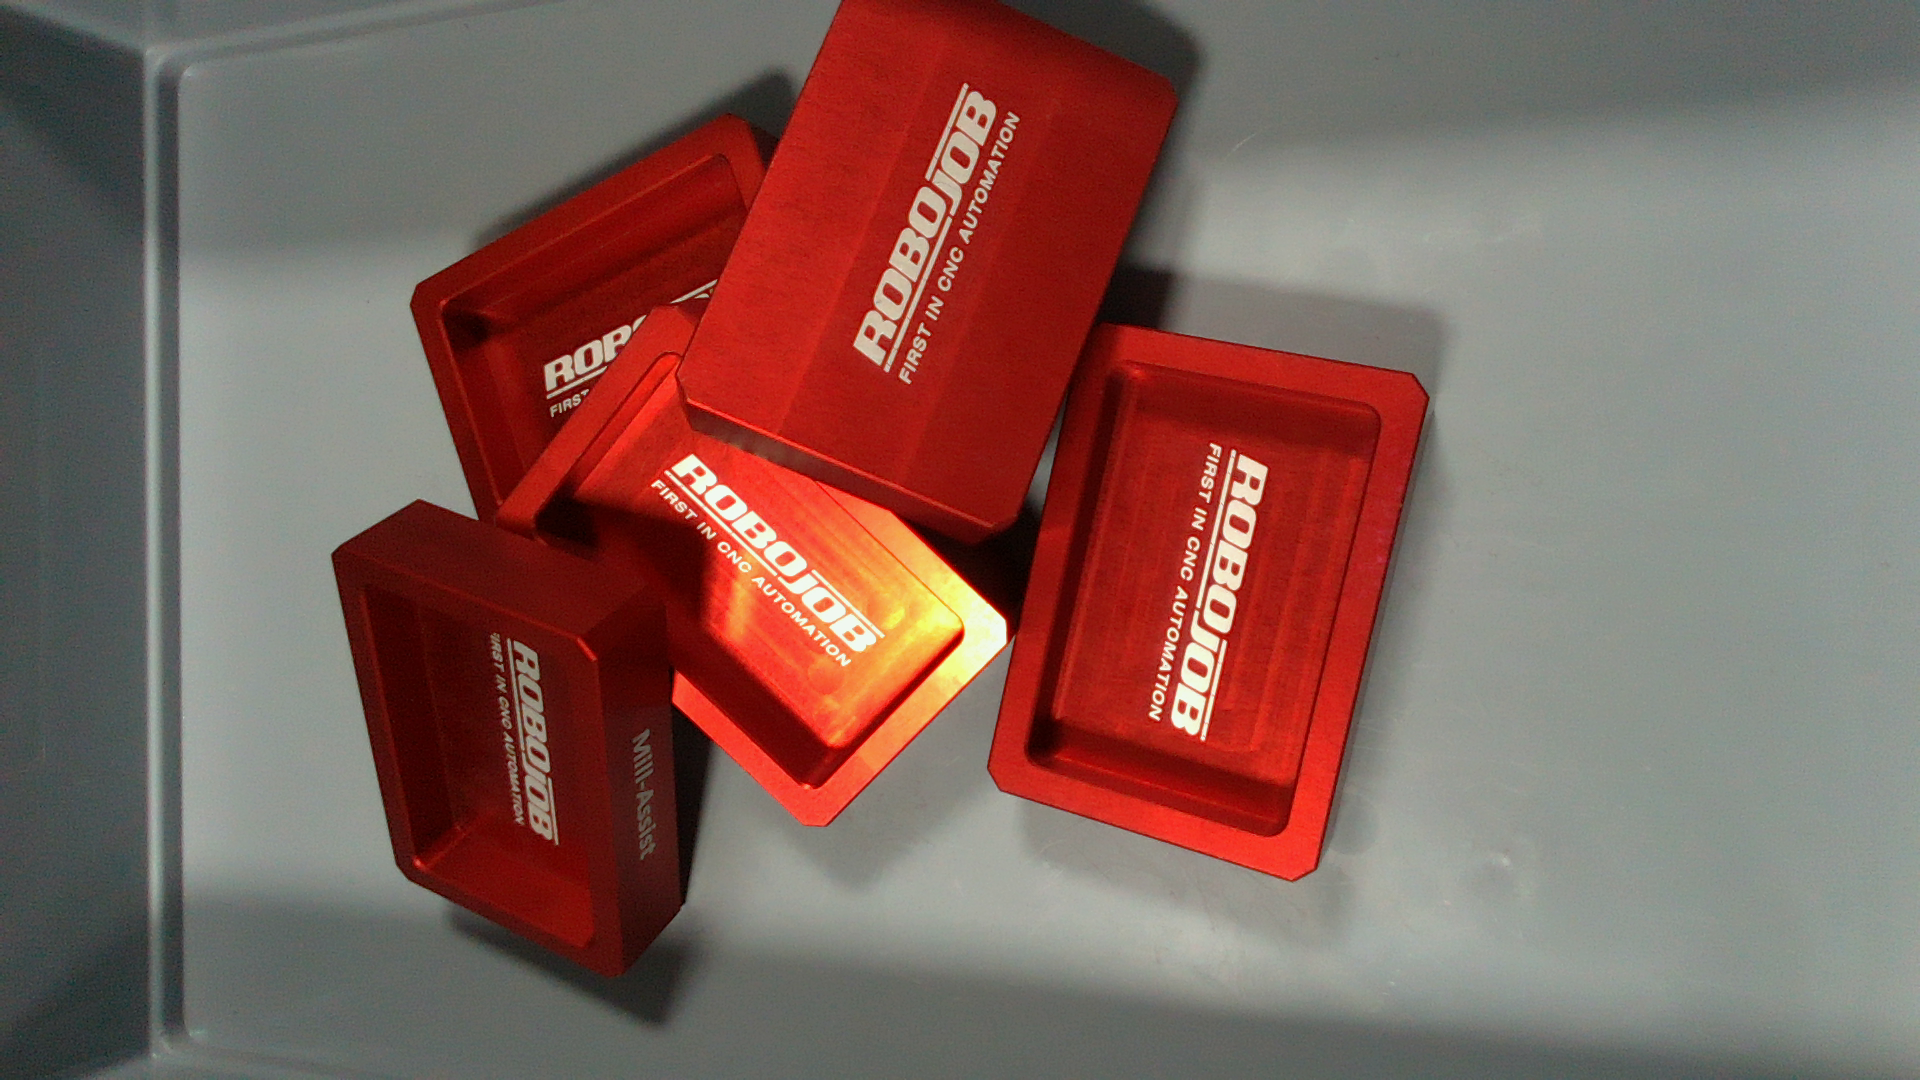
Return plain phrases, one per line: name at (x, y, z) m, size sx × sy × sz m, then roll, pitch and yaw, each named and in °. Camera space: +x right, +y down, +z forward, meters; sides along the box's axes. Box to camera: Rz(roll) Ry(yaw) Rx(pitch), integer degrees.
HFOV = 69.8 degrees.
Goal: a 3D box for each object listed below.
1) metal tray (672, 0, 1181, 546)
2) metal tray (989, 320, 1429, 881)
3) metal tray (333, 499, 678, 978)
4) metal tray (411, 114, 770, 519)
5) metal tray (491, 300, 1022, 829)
metal tray at (-0.007, -0.075, 0.358) m, size 0.090 × 0.030 × 0.130 m, roll 23°, pitch 78°, yaw -4°
metal tray at (0.066, 0.014, 0.368) m, size 0.090 × 0.030 × 0.130 m, roll 13°, pitch 95°, yaw 19°
metal tray at (-0.131, 0.061, 0.408) m, size 0.090 × 0.030 × 0.130 m, roll 18°, pitch 125°, yaw 19°
metal tray at (-0.101, -0.061, 0.428) m, size 0.130 × 0.030 × 0.090 m, roll -22°, pitch 83°, yaw 19°
metal tray at (-0.057, 0.007, 0.390) m, size 0.130 × 0.030 × 0.090 m, roll 43°, pitch 111°, yaw 0°
